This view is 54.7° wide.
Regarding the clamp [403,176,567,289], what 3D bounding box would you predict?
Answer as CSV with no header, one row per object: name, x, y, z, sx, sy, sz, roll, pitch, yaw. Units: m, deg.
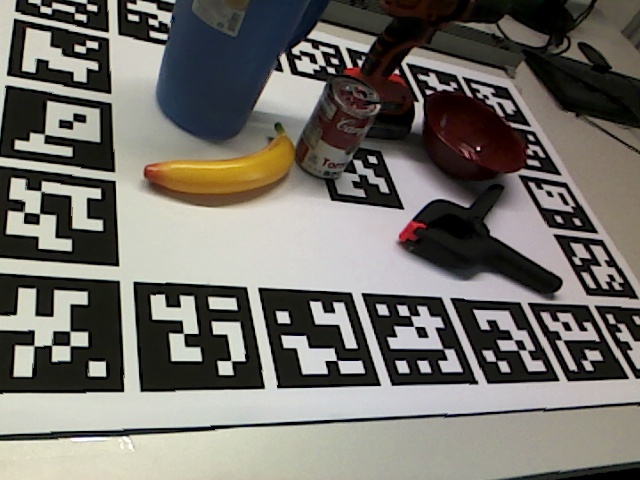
clamp,0.187,-0.015,0.737,0.201,0.037,0.166,2,56,-29

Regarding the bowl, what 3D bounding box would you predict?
bowl,0.203,-0.139,0.851,0.161,0.055,0.162,15,48,-18

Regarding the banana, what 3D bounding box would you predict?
banana,-0.090,-0.081,0.649,0.196,0.039,0.074,-22,57,-43

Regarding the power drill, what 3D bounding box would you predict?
power drill,0.126,-0.242,0.777,0.183,0.187,0.057,0,53,-31

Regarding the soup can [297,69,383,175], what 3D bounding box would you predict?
soup can,0.021,-0.134,0.711,0.067,0.102,0.068,16,38,-13

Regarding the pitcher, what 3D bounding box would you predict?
pitcher,-0.072,-0.233,0.643,0.188,0.243,0.134,-21,62,-41
